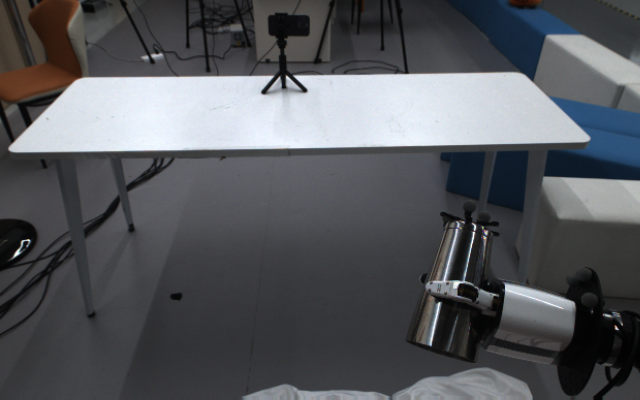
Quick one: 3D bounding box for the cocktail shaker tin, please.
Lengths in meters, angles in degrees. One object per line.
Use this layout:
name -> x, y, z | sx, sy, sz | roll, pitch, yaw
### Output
cocktail shaker tin -> 0.181, 0.119, 0.647 | 0.093, 0.093, 0.170 | 14, 73, 17
